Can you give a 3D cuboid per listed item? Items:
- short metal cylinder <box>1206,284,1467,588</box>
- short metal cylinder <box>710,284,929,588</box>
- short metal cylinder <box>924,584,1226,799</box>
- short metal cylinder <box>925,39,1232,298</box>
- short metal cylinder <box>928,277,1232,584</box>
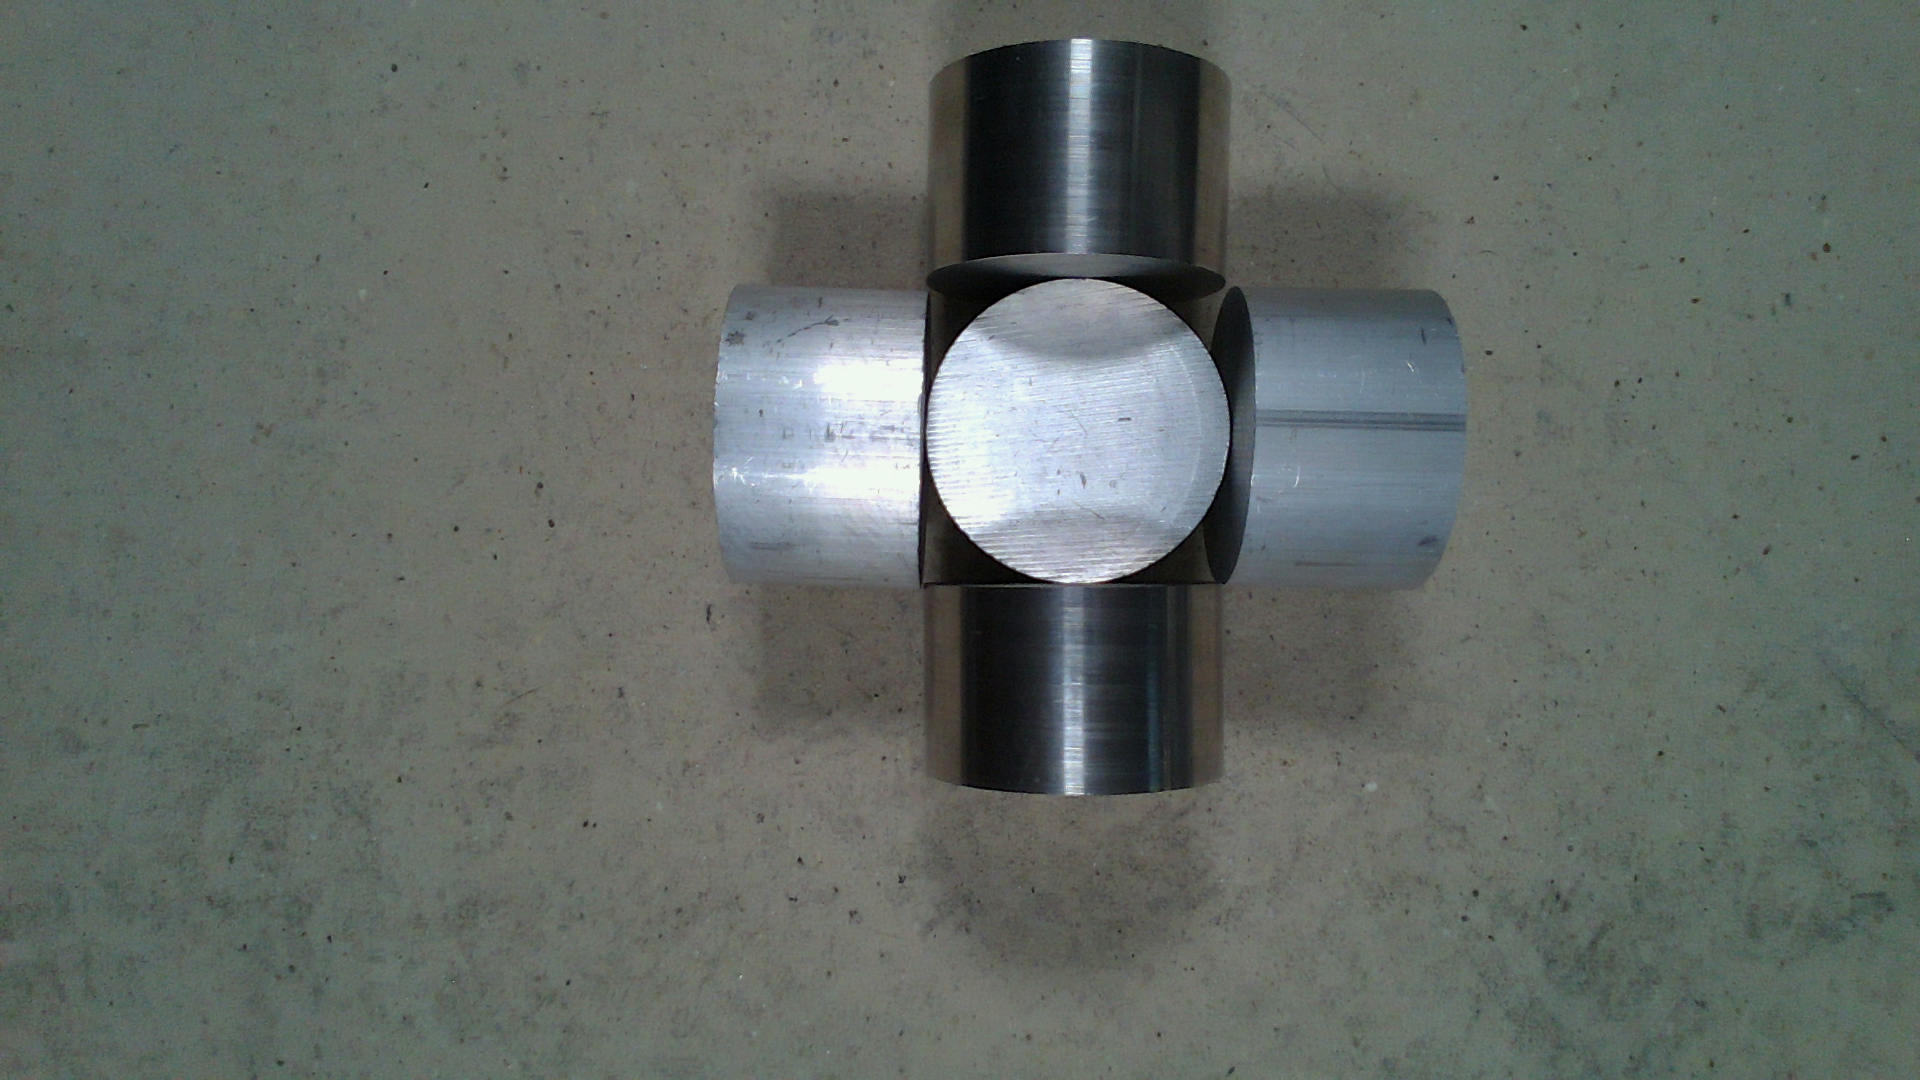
[{"bbox_3d":[0.096,-0.027,0.368,0.050,0.080,0.080,2,90,0],"label":"short metal cylinder"},{"bbox_3d":[-0.034,-0.028,0.368,0.050,0.080,0.080,2,90,0],"label":"short metal cylinder"},{"bbox_3d":[0.030,0.037,0.368,0.080,0.080,0.050,0,90,0],"label":"short metal cylinder"},{"bbox_3d":[0.031,-0.094,0.367,0.080,0.080,0.050,1,91,0],"label":"short metal cylinder"},{"bbox_3d":[0.031,-0.029,0.383,0.080,0.050,0.080,0,90,0],"label":"short metal cylinder"}]
